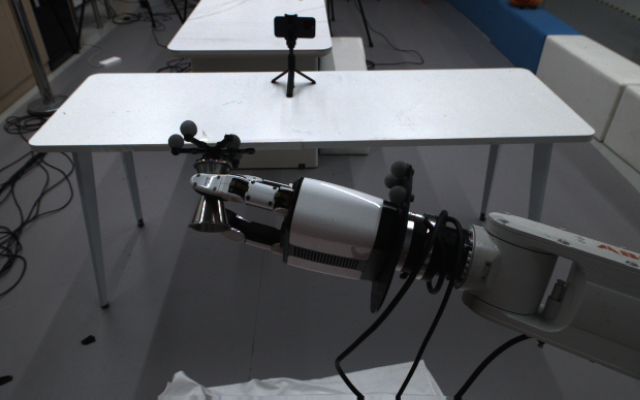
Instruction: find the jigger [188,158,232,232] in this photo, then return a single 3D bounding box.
[{"bbox_3d":[-0.113,-0.004,0.507,0.043,0.043,0.071,0,75,-3],"label":"jigger"}]
